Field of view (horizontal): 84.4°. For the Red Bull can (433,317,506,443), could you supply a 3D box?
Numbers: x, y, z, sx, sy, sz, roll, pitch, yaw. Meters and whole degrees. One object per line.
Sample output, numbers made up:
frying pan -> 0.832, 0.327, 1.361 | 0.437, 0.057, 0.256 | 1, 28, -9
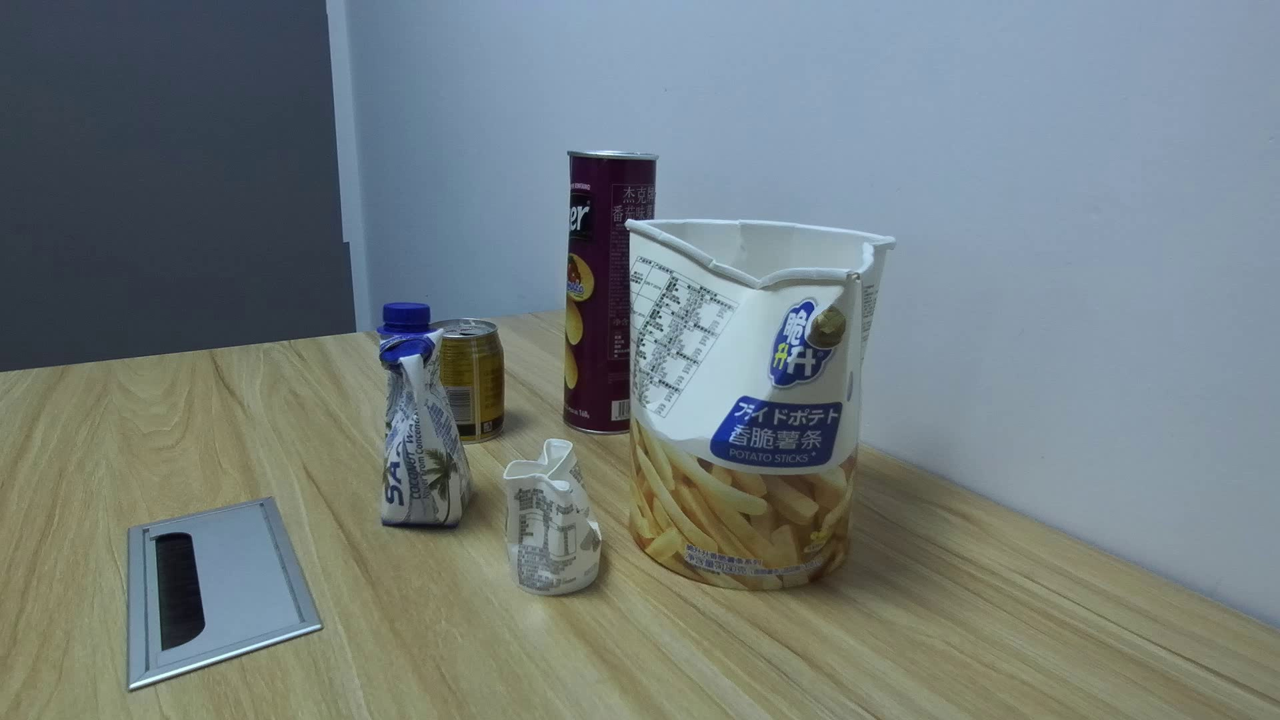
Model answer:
Red Bull can -> -0.152, 0.018, 0.610 | 0.068, 0.093, 0.068 | 1, 16, 0

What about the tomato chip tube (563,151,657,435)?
tomato chip tube -> -0.027, -0.057, 0.610 | 0.076, 0.234, 0.080 | 3, 16, 0

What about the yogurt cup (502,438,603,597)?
yogurt cup -> -0.052, 0.091, 0.413 | 0.055, 0.072, 0.055 | 8, 19, 25

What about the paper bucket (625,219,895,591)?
paper bucket -> 0.061, 0.018, 0.451 | 0.162, 0.202, 0.169 | 8, 16, 22

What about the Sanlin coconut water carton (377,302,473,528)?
Sanlin coconut water carton -> -0.150, 0.038, 0.456 | 0.057, 0.145, 0.068 | -5, 25, 1
